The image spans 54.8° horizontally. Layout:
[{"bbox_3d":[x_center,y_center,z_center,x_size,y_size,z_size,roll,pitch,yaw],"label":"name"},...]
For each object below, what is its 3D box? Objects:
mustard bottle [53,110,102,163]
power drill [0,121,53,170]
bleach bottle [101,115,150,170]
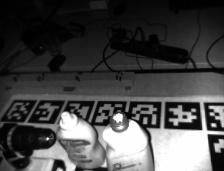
[{"bbox_3d":[-0.089,0.120,0.524,0.095,0.193,0.058,0,46,14],"label":"mustard bottle"},{"bbox_3d":[-0.202,0.152,0.495,0.183,0.188,0.057,-2,39,10],"label":"power drill"},{"bbox_3d":[0.021,0.145,0.439,0.102,0.253,0.067,-7,45,9],"label":"bleach bottle"}]
